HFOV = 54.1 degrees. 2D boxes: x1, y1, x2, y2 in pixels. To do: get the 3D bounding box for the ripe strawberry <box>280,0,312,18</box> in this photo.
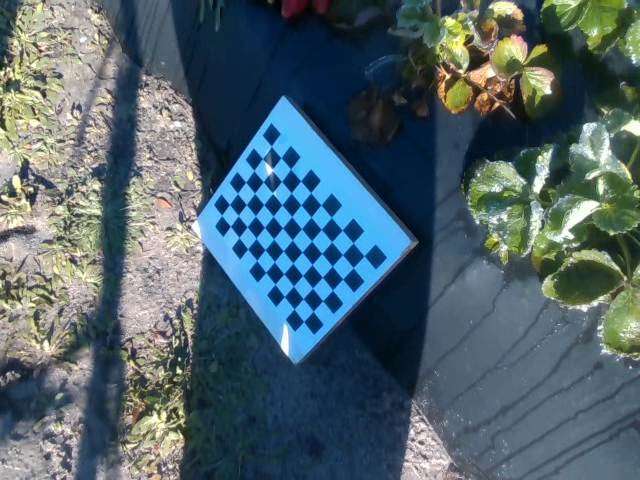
[{"bbox_3d":[-0.036,-0.305,0.809,0.036,0.051,0.039,10,-26,32],"label":"ripe strawberry"}]
